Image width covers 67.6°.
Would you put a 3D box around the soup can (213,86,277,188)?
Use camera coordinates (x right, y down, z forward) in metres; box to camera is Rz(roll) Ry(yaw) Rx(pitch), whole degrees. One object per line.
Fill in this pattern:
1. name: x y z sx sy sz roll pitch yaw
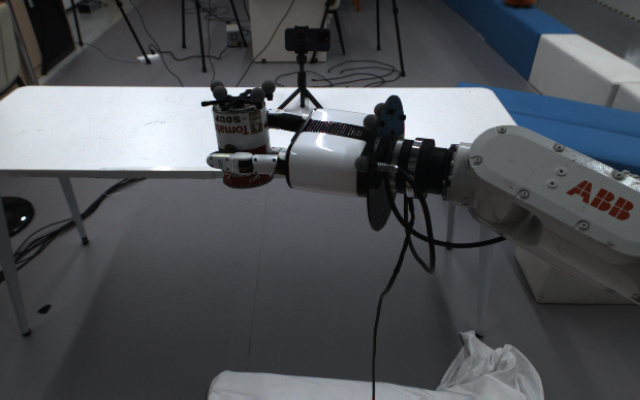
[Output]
1. soup can: -0.097 -0.074 0.621 0.067 0.101 0.067 -3 26 2
